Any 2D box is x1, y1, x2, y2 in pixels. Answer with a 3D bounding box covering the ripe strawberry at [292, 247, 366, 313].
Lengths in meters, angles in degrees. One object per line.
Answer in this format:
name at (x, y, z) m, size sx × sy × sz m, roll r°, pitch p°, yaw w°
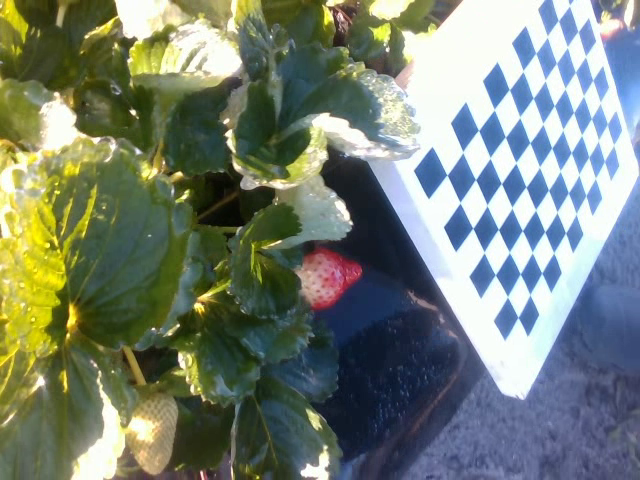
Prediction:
ripe strawberry at (0.010, 0.028, 0.397) m, size 0.065 × 0.040 × 0.040 m, roll -4°, pitch 4°, yaw -41°
